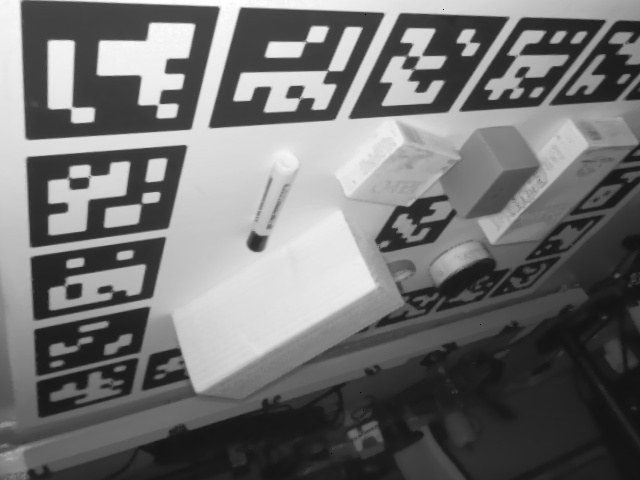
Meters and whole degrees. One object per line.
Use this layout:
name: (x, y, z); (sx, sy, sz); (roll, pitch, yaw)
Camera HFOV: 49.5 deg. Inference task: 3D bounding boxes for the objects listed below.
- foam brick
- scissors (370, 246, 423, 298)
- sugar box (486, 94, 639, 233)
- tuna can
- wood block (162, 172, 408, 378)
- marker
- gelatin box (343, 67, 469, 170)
foam brick: (0.169, -0.094, 0.655); (0.053, 0.051, 0.077); (-4, 141, -32)
scissors: (0.034, 0.042, 0.790); (0.206, 0.016, 0.086); (-2, 140, -38)
sugar box: (0.271, -0.079, 0.768); (0.094, 0.045, 0.173); (-2, 140, -34)
tuna can: (0.191, 0.031, 0.868); (0.086, 0.034, 0.085); (-20, 147, -13)
wood block: (-0.034, 0.037, 0.668); (0.205, 0.091, 0.090); (-31, 149, 8)
marker: (-0.033, -0.069, 0.575); (0.020, 0.019, 0.119); (-4, 139, -32)
gelatin box: (0.076, -0.102, 0.603); (0.090, 0.030, 0.072); (10, 131, -45)
